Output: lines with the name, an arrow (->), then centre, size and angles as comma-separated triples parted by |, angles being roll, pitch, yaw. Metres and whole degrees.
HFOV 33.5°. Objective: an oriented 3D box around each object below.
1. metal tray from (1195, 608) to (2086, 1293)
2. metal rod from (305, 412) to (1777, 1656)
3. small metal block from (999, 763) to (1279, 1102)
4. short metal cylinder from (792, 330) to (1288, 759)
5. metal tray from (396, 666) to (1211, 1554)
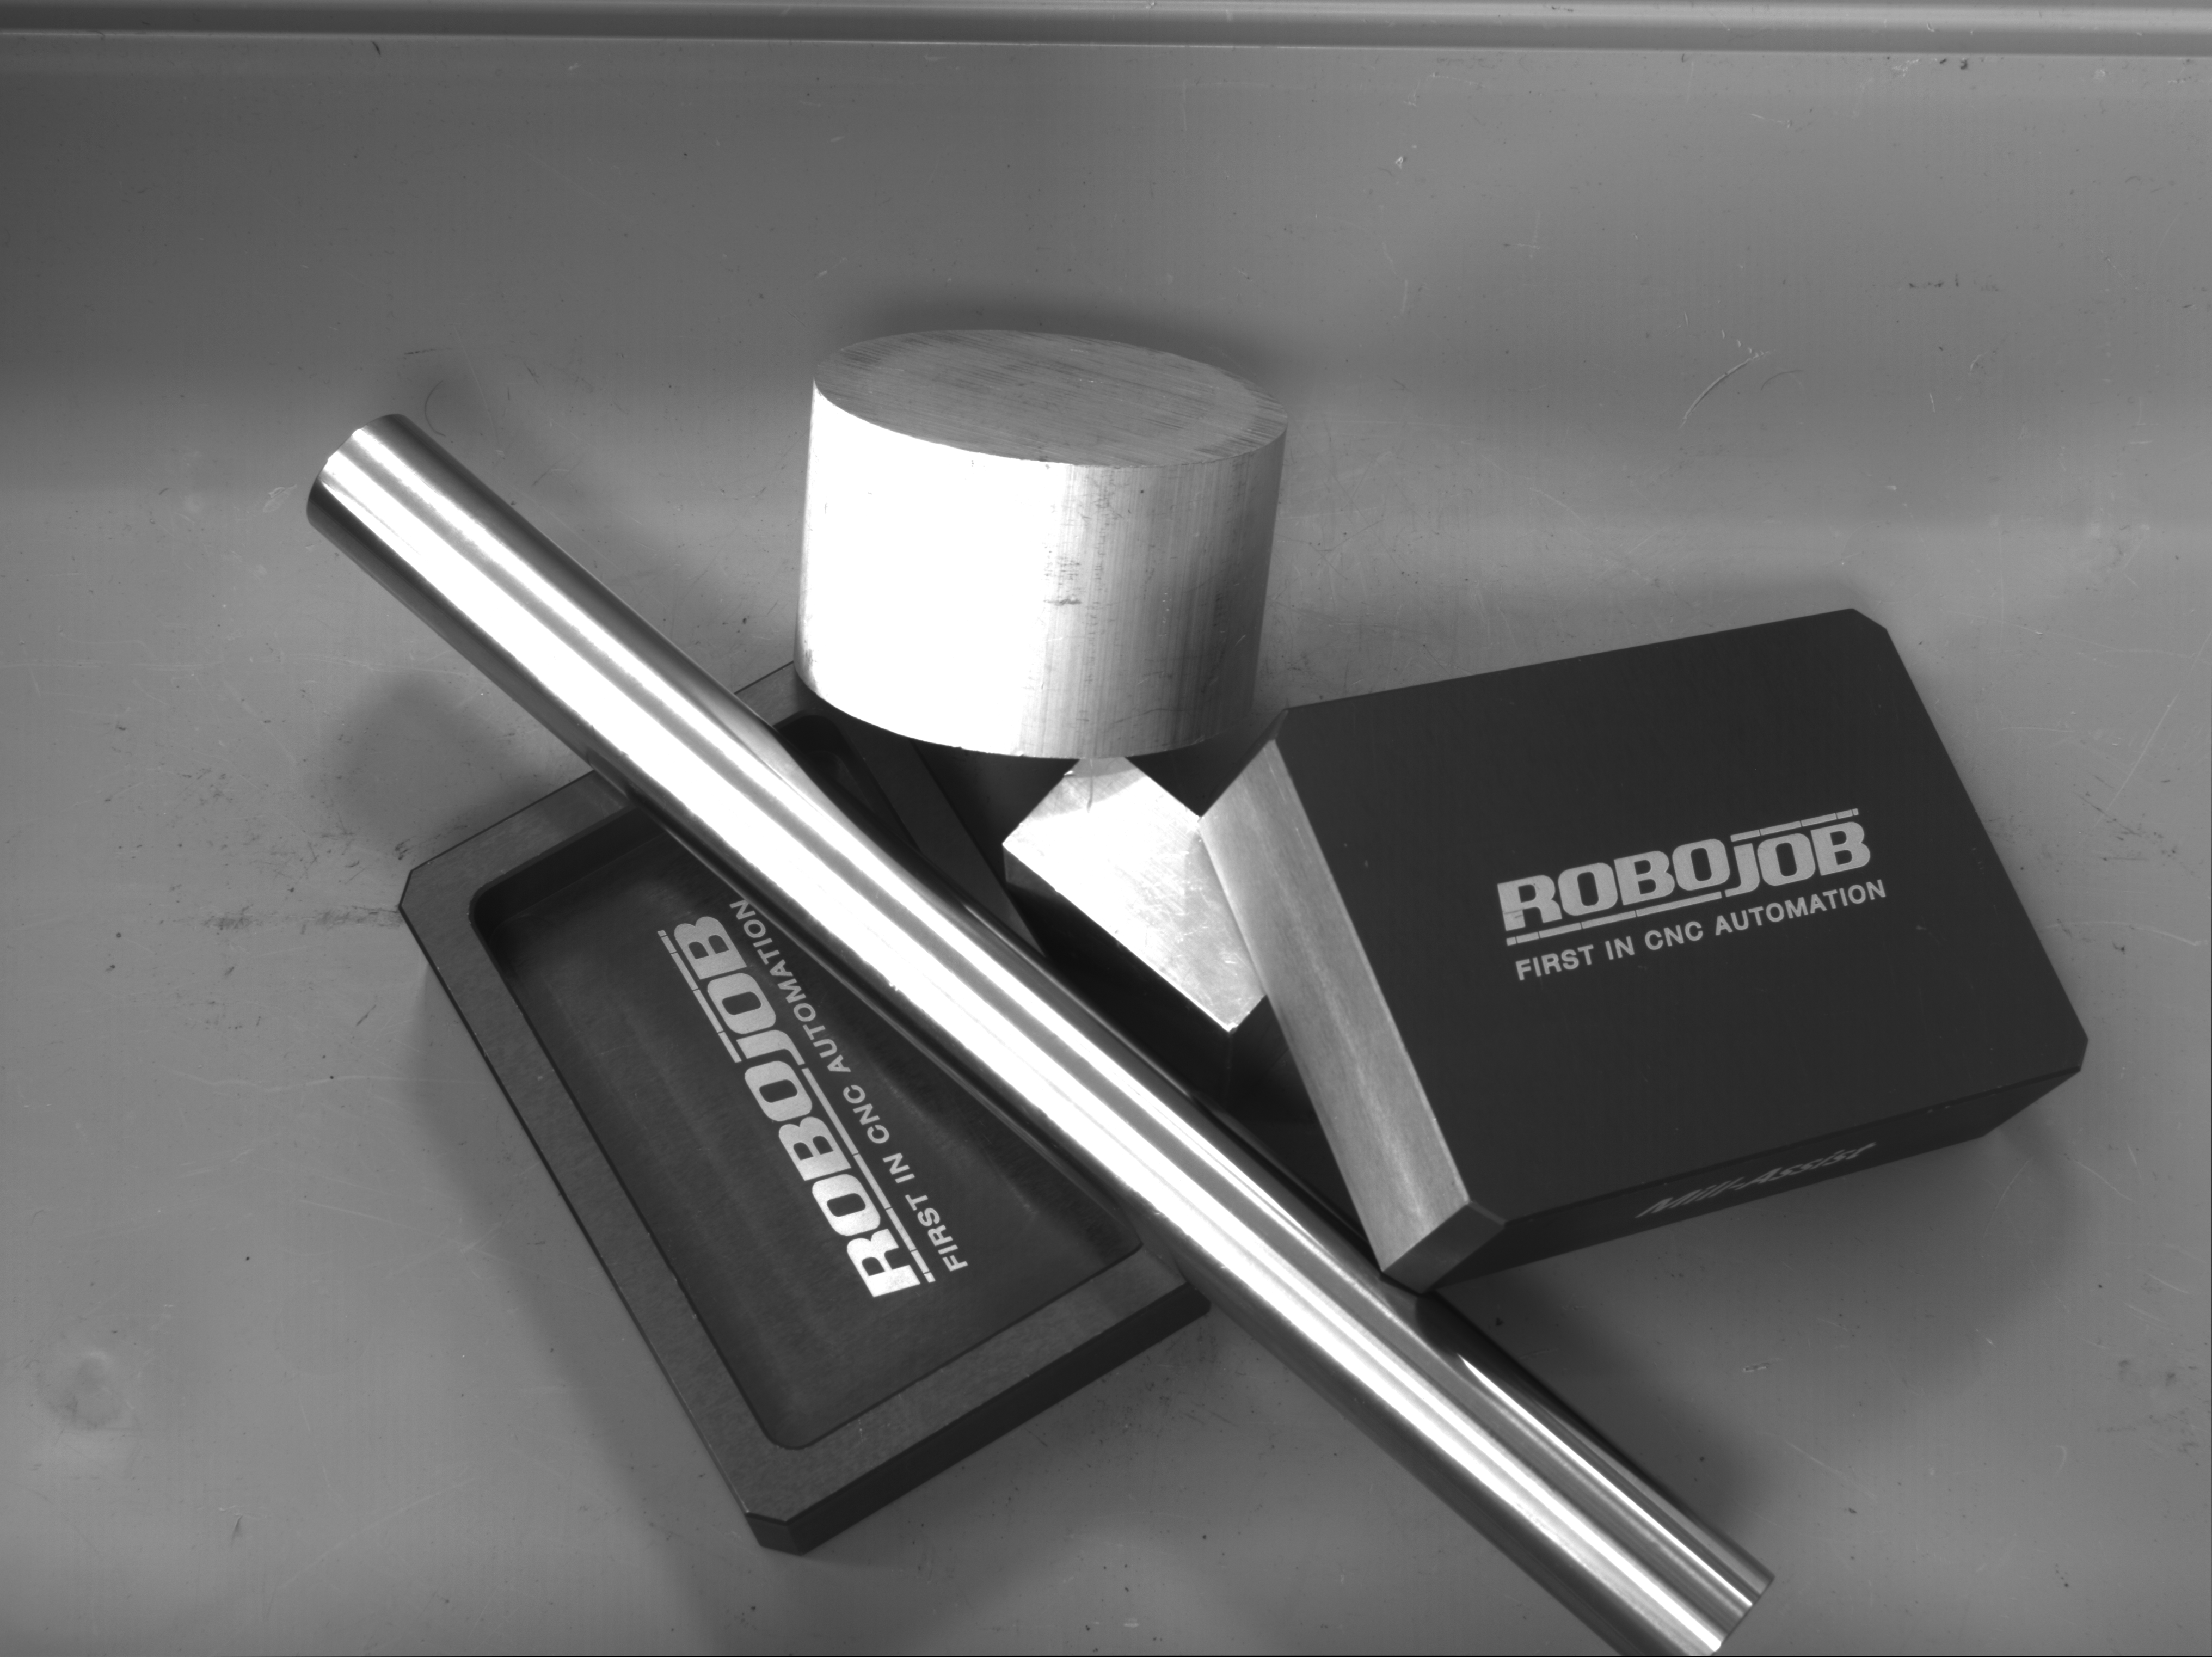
metal tray -> 0.090, 0.017, 0.608 | 0.130, 0.030, 0.090 | -11, 68, -30
metal rod -> -0.017, 0.032, 0.601 | 0.300, 0.025, 0.025 | 40, 75, 13
small metal block -> 0.010, 0.017, 0.624 | 0.050, 0.050, 0.025 | 39, 75, 13
short metal cylinder -> -0.012, -0.050, 0.627 | 0.080, 0.080, 0.050 | 8, 112, 3
metal tray -> -0.050, 0.045, 0.625 | 0.090, 0.030, 0.130 | -30, 73, -10
